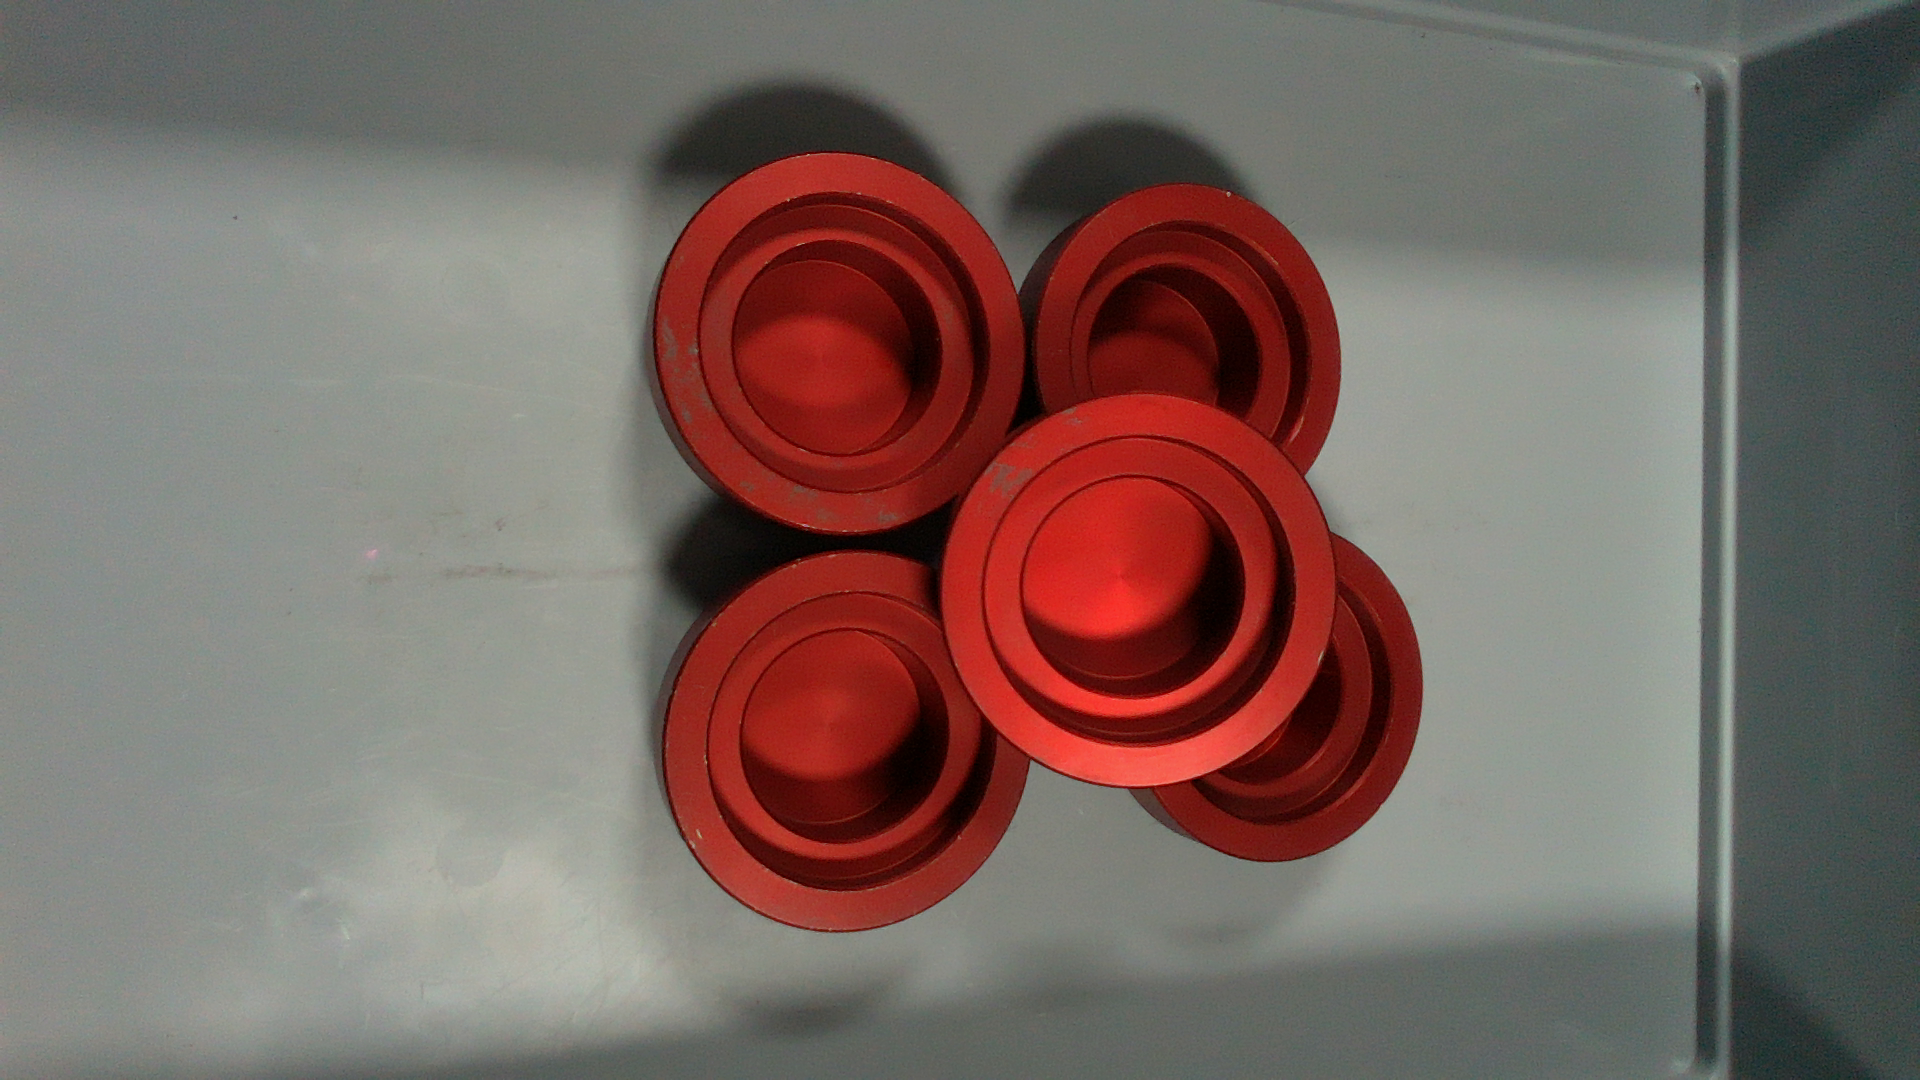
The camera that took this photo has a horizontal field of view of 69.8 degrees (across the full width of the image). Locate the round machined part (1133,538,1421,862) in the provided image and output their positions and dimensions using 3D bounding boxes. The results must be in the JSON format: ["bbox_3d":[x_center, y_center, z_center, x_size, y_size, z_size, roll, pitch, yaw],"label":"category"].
[{"bbox_3d":[0.085,0.043,0.414,0.098,0.042,0.098,0,90,-20],"label":"round machined part"}]

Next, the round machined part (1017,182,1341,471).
[{"bbox_3d":[0.059,-0.051,0.404,0.098,0.042,0.098,0,90,-20],"label":"round machined part"}]

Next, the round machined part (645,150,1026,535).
[{"bbox_3d":[-0.035,-0.050,0.370,0.098,0.042,0.098,0,90,-20],"label":"round machined part"}]

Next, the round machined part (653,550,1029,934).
[{"bbox_3d":[-0.034,0.052,0.371,0.098,0.042,0.098,0,90,-20],"label":"round machined part"}]

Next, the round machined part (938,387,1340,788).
[{"bbox_3d":[0.043,0.011,0.354,0.098,0.042,0.098,0,95,-2],"label":"round machined part"}]
